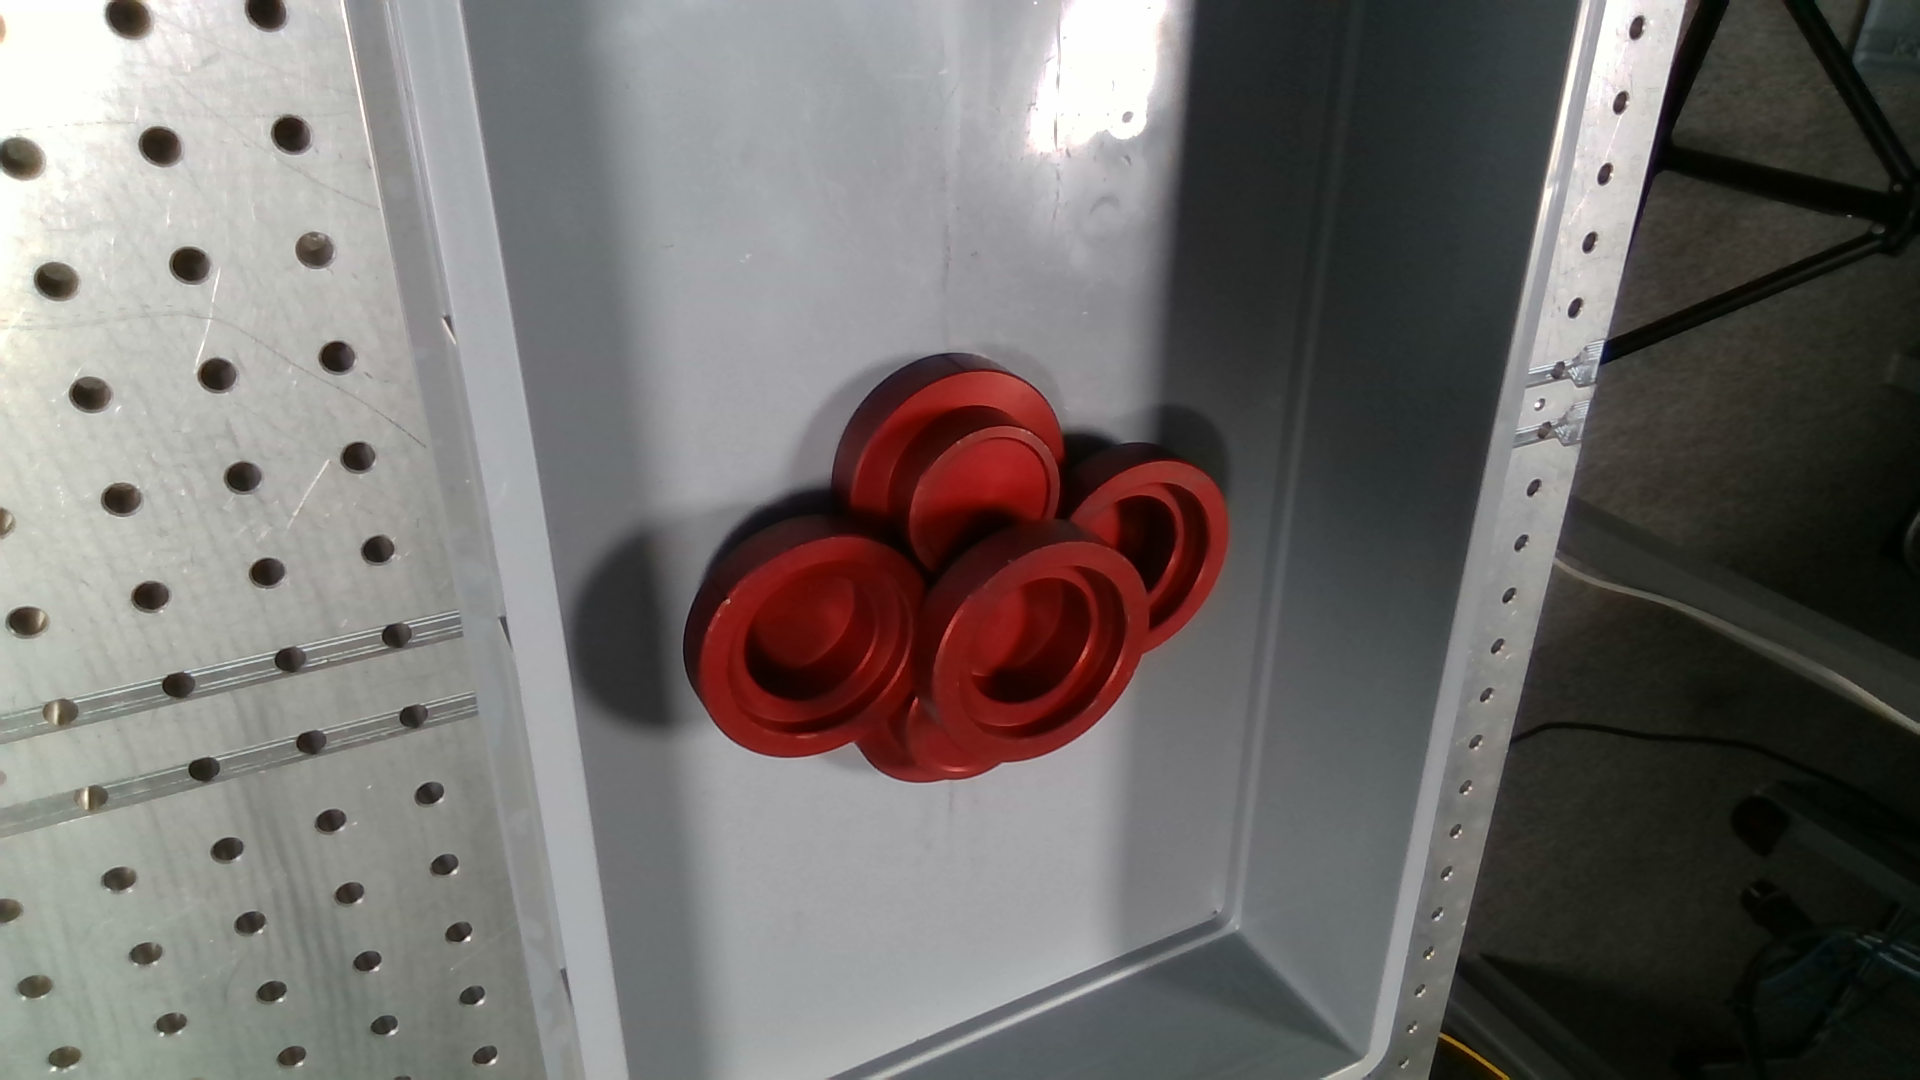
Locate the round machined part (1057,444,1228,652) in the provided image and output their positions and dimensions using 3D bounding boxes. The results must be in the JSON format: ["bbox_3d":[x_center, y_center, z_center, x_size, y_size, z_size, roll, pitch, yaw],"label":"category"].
[{"bbox_3d":[0.067,0.001,0.609,0.098,0.042,0.098,-14,122,-25],"label":"round machined part"}]

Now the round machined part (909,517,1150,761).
[{"bbox_3d":[0.023,0.035,0.547,0.098,0.042,0.098,-14,122,-25],"label":"round machined part"}]

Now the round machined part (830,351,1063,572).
[{"bbox_3d":[0.001,-0.023,0.556,0.098,0.042,0.098,-14,122,-25],"label":"round machined part"}]

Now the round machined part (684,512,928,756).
[{"bbox_3d":[-0.063,0.033,0.547,0.098,0.042,0.098,-14,122,-25],"label":"round machined part"}]

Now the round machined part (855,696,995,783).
[{"bbox_3d":[-0.002,0.065,0.601,0.098,0.042,0.098,-14,122,-25],"label":"round machined part"}]
